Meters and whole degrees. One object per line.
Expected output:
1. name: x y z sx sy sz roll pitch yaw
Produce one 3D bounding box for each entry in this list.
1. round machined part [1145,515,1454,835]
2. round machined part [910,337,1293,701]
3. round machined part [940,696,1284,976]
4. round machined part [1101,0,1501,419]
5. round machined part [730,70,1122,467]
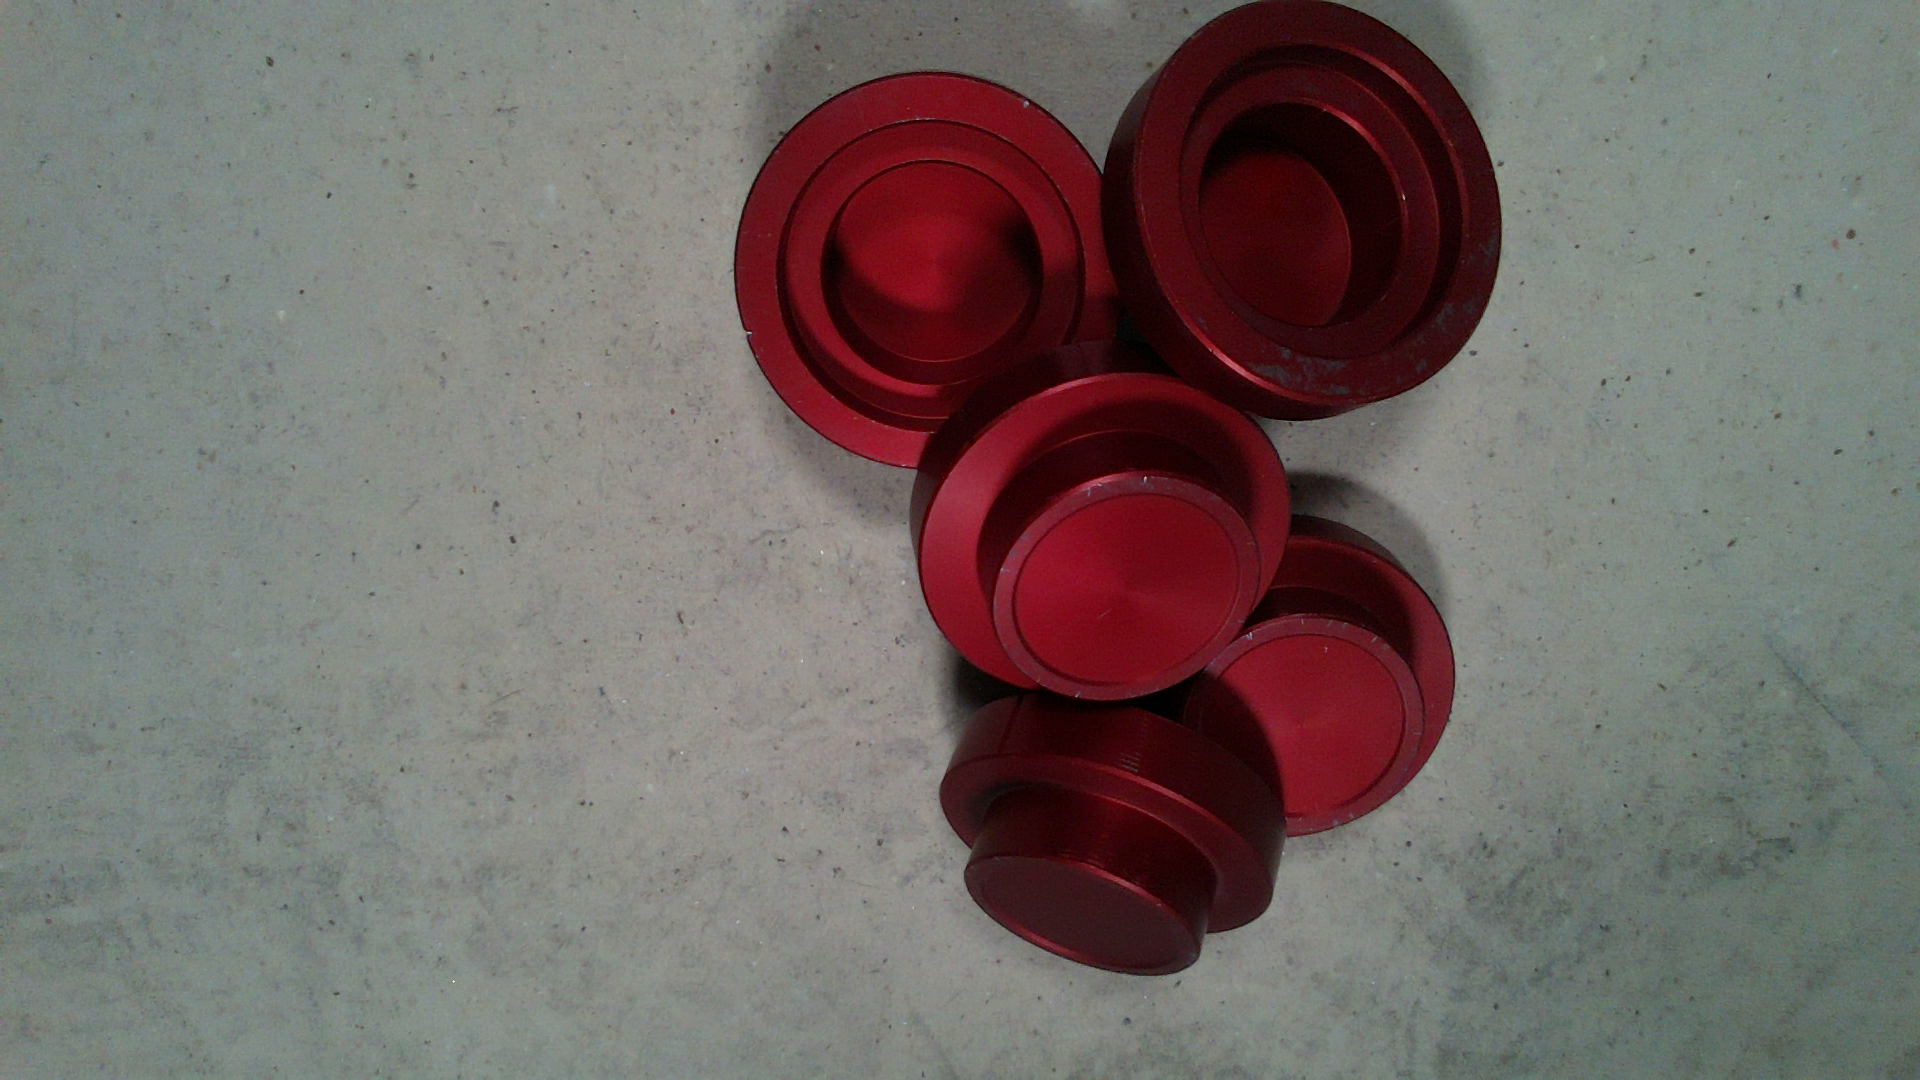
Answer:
1. round machined part: 0.096 0.045 0.402 0.098 0.042 0.098 0 110 0
2. round machined part: 0.038 0.002 0.351 0.098 0.042 0.098 -4 121 -7
3. round machined part: 0.040 0.089 0.391 0.098 0.042 0.098 16 146 11
4. round machined part: 0.080 -0.078 0.342 0.098 0.042 0.098 2 84 -17
5. round machined part: -0.008 -0.071 0.359 0.098 0.042 0.098 0 110 0
